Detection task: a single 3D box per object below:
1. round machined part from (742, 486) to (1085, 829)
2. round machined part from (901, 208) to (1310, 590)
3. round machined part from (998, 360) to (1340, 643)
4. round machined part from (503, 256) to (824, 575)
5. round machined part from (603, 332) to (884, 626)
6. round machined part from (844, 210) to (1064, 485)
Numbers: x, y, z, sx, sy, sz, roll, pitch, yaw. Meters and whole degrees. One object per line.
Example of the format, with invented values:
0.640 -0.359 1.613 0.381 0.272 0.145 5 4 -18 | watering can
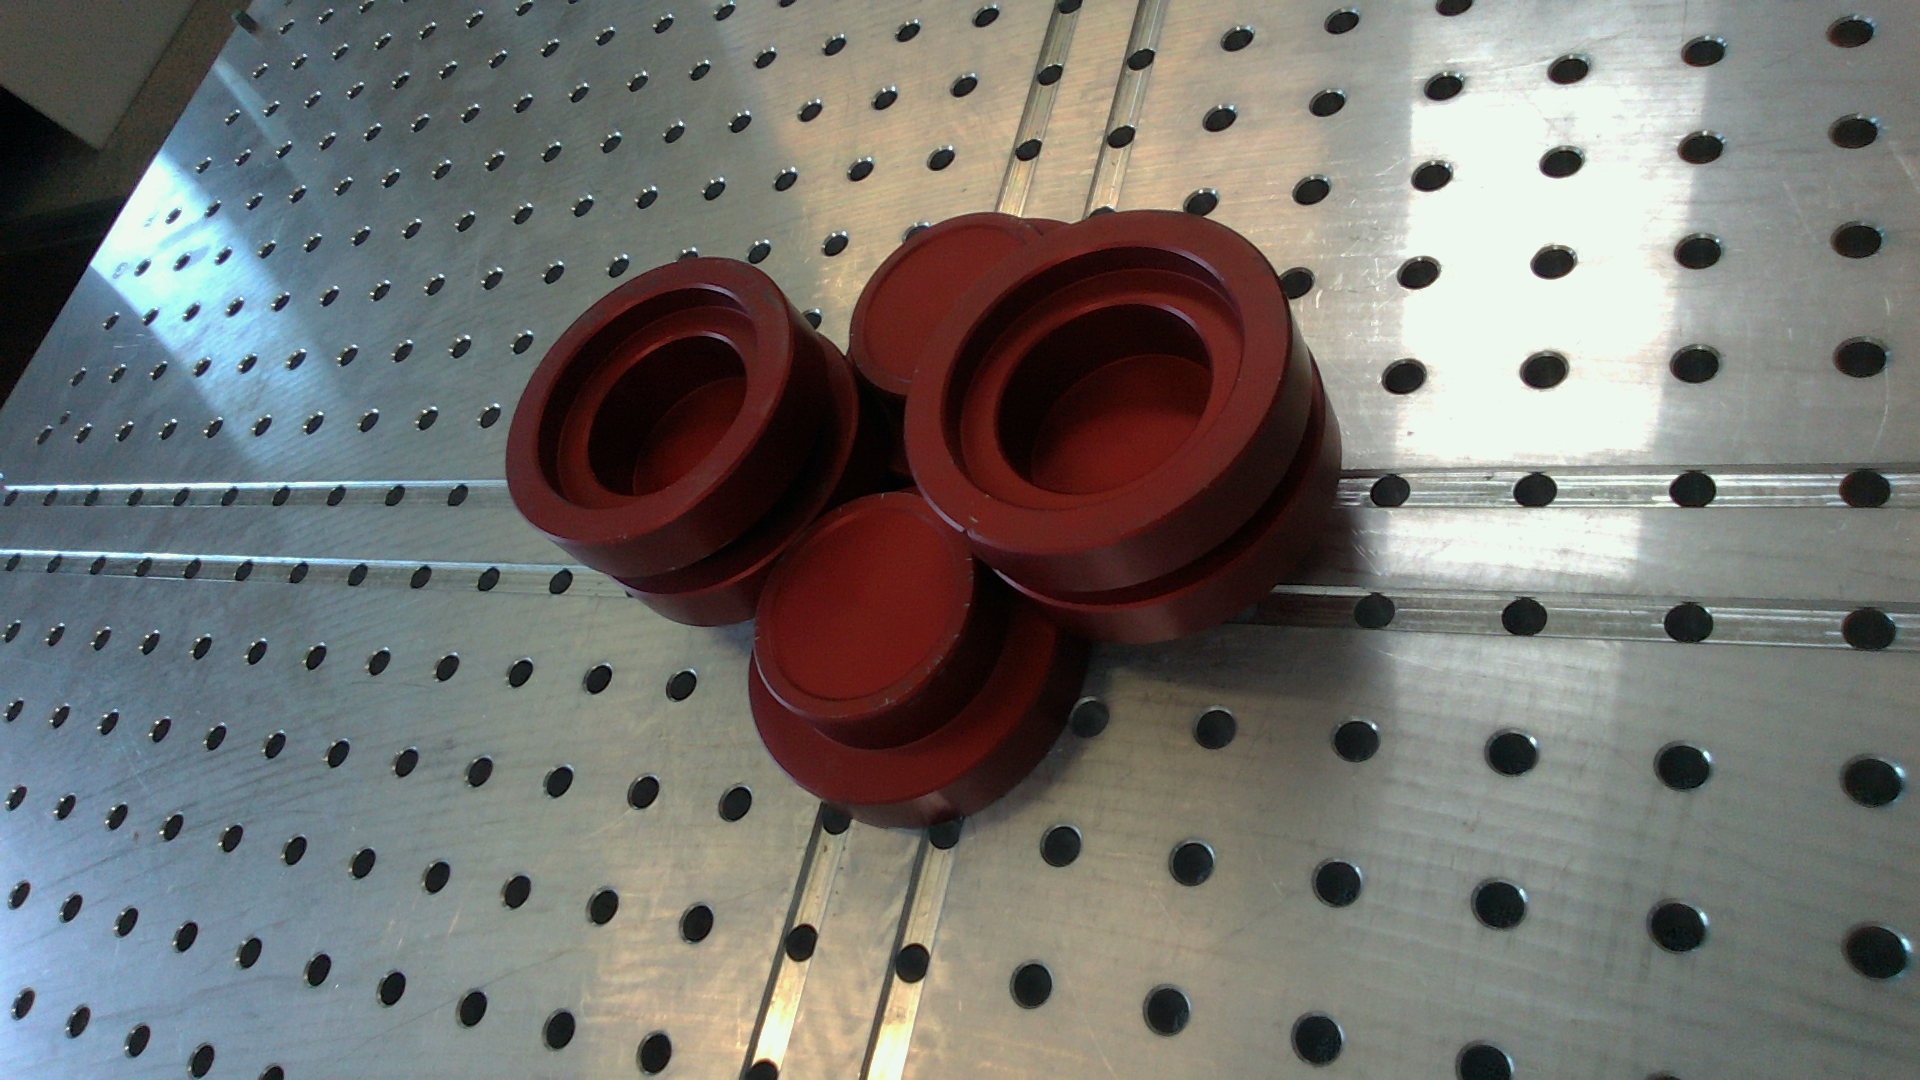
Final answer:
-0.019 0.026 0.379 0.098 0.042 0.098 -13 56 21 | round machined part
0.038 -0.031 0.342 0.098 0.042 0.098 -13 56 21 | round machined part
0.052 -0.017 0.367 0.098 0.042 0.098 -13 56 21 | round machined part
-0.083 -0.033 0.408 0.098 0.042 0.098 -13 56 21 | round machined part
-0.067 -0.017 0.432 0.098 0.042 0.098 -13 56 21 | round machined part
0.004 -0.061 0.421 0.098 0.042 0.098 -13 56 21 | round machined part
